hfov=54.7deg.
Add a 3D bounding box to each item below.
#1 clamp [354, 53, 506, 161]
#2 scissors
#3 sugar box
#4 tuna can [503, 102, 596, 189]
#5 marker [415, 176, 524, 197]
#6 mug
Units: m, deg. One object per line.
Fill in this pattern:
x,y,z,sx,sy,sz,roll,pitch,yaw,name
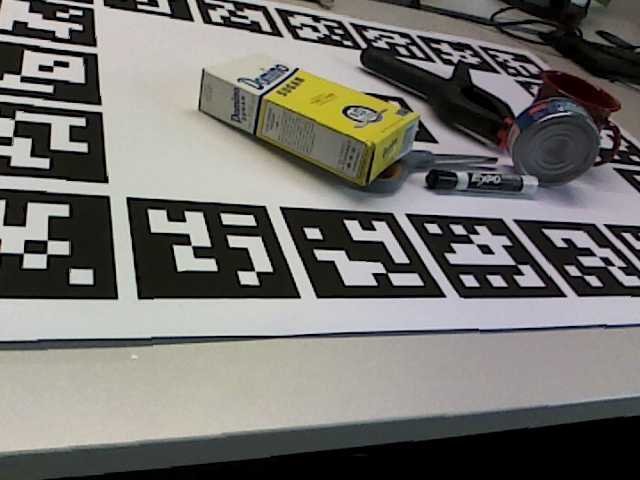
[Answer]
0.154,-0.165,0.745,0.164,0.036,0.204,-6,45,-32,clamp
0.090,-0.080,0.599,0.201,0.016,0.088,-6,40,-33,scissors
-0.010,-0.110,0.563,0.177,0.045,0.092,29,36,22,sugar box
0.235,-0.096,0.635,0.085,0.086,0.034,13,37,-10,tuna can
0.143,-0.051,0.590,0.120,0.019,0.020,-2,43,-26,marker
0.272,-0.126,0.700,0.118,0.081,0.093,38,39,28,mug
